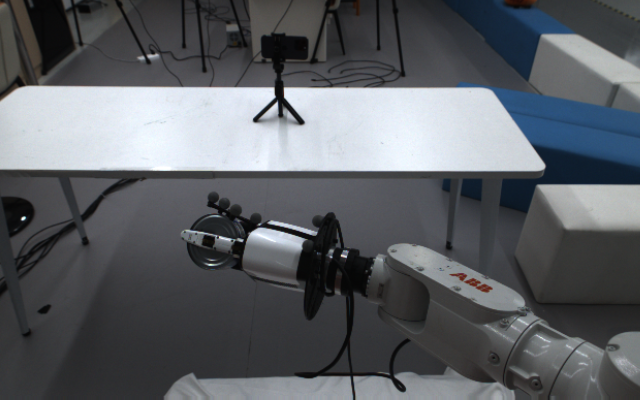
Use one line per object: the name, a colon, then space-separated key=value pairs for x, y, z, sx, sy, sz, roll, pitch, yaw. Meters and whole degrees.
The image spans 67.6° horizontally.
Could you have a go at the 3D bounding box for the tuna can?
tuna can: x=-0.154 y=0.064 z=0.735 sx=0.085 sy=0.085 sz=0.034 roll=14 pitch=-6 yaw=16
